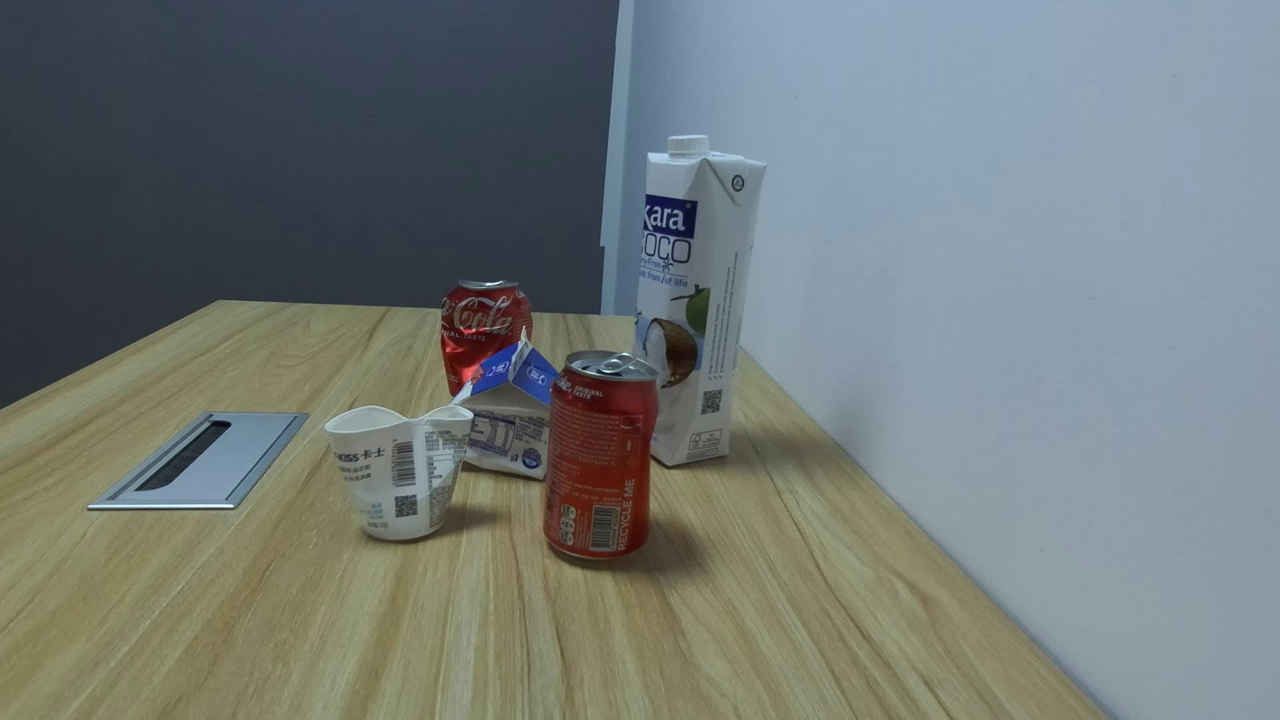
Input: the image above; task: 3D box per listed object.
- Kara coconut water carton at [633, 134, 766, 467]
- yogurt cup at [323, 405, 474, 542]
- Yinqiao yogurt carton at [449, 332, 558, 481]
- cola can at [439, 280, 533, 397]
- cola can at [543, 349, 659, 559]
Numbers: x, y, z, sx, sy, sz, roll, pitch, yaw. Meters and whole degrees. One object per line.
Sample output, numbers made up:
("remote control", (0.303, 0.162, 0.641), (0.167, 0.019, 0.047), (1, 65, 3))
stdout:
("Kara coconut water carton", (0.039, -0.044, 0.546), (0.076, 0.245, 0.076), (-5, 18, -34))
("yogurt cup", (-0.144, 0.066, 0.430), (0.053, 0.071, 0.076), (18, 22, 33))
("Yinqiao yogurt carton", (-0.097, 0.028, 0.524), (0.080, 0.097, 0.074), (10, 19, -4))
("cola can", (-0.138, -0.017, 0.647), (0.069, 0.112, 0.066), (13, 17, 30))
("cola can", (-0.024, 0.055, 0.421), (0.065, 0.117, 0.072), (0, 18, -11))
